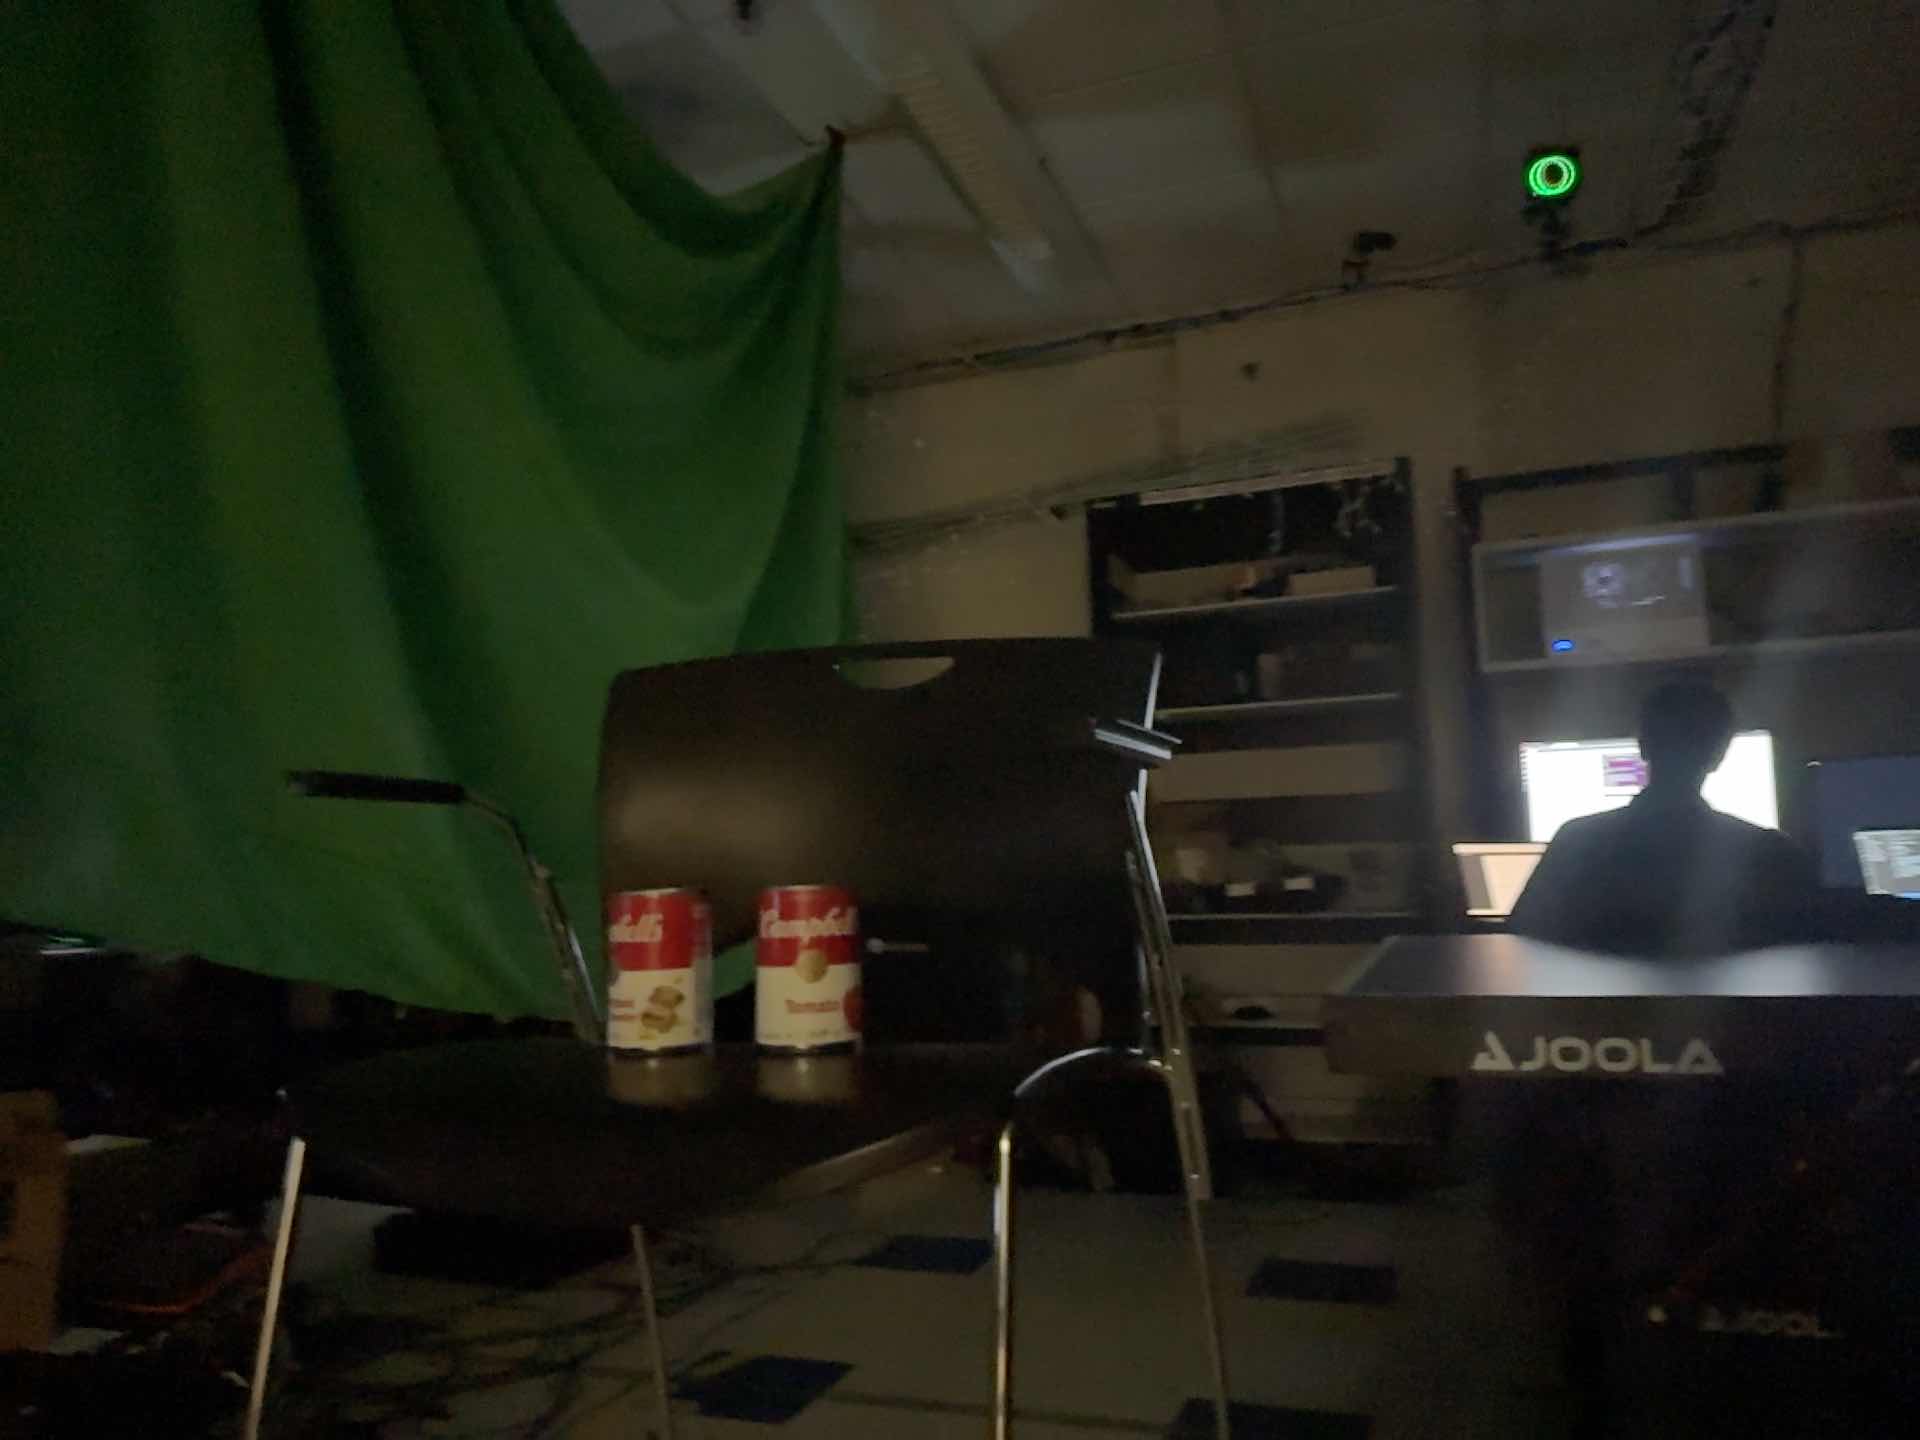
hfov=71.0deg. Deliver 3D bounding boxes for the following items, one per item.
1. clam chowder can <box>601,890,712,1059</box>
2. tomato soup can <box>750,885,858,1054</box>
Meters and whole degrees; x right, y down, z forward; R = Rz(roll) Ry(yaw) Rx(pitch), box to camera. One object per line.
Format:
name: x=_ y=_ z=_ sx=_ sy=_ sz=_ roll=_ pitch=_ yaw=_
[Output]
clam chowder can: x=-0.198 y=0.163 z=0.879 sx=0.068 sy=0.102 sz=0.068 roll=1 pitch=-4 yaw=0
tomato soup can: x=-0.100 y=0.156 z=0.853 sx=0.067 sy=0.102 sz=0.067 roll=1 pitch=-5 yaw=0
